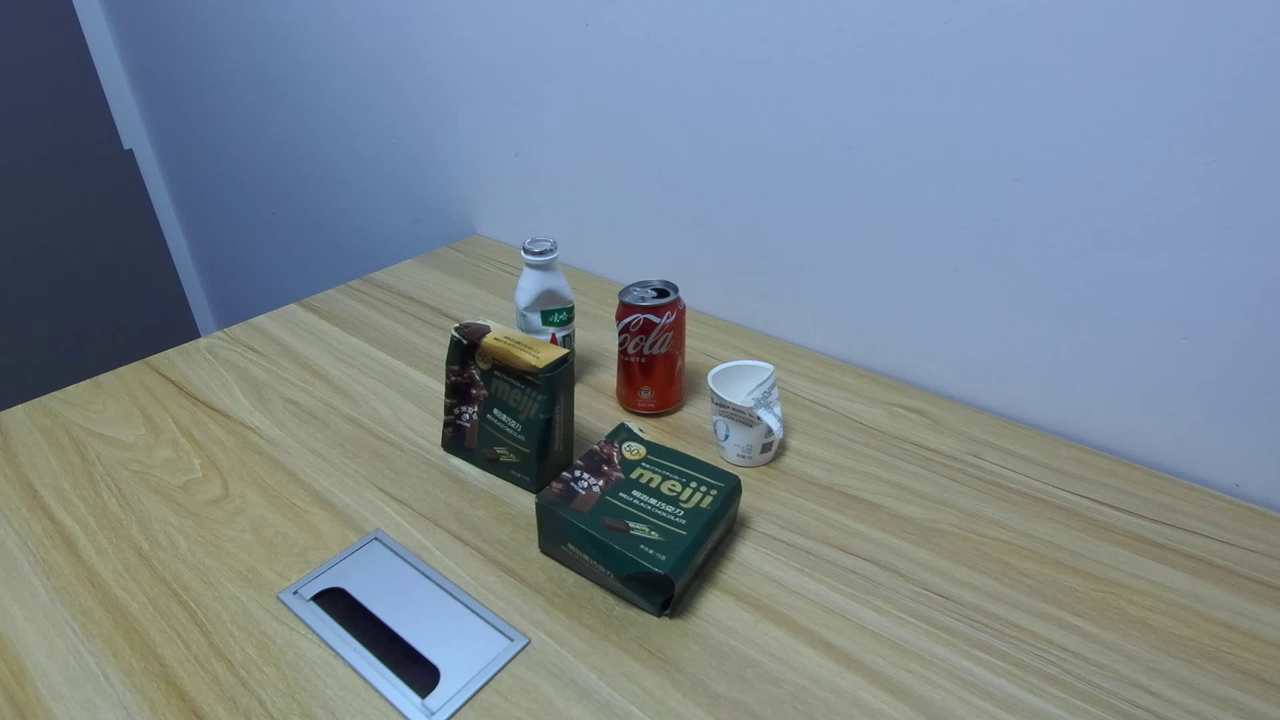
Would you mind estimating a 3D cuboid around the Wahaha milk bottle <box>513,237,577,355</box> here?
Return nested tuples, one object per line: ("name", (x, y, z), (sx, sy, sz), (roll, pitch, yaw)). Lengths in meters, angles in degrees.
("Wahaha milk bottle", (-0.089, -0.040, 0.665), (0.056, 0.148, 0.056), (2, 32, -1))

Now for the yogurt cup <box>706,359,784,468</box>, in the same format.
("yogurt cup", (0.088, 0.047, 0.598), (0.067, 0.070, 0.067), (0, 33, 0))

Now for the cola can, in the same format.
("cola can", (0.010, -0.010, 0.649), (0.065, 0.117, 0.072), (16, 34, 24))

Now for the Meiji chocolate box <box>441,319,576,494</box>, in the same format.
("Meiji chocolate box", (-0.108, 0.034, 0.581), (0.117, 0.117, 0.052), (19, 28, 28))

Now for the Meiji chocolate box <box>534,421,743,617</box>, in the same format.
("Meiji chocolate box", (0.001, 0.113, 0.512), (0.115, 0.058, 0.123), (22, 38, 26))
